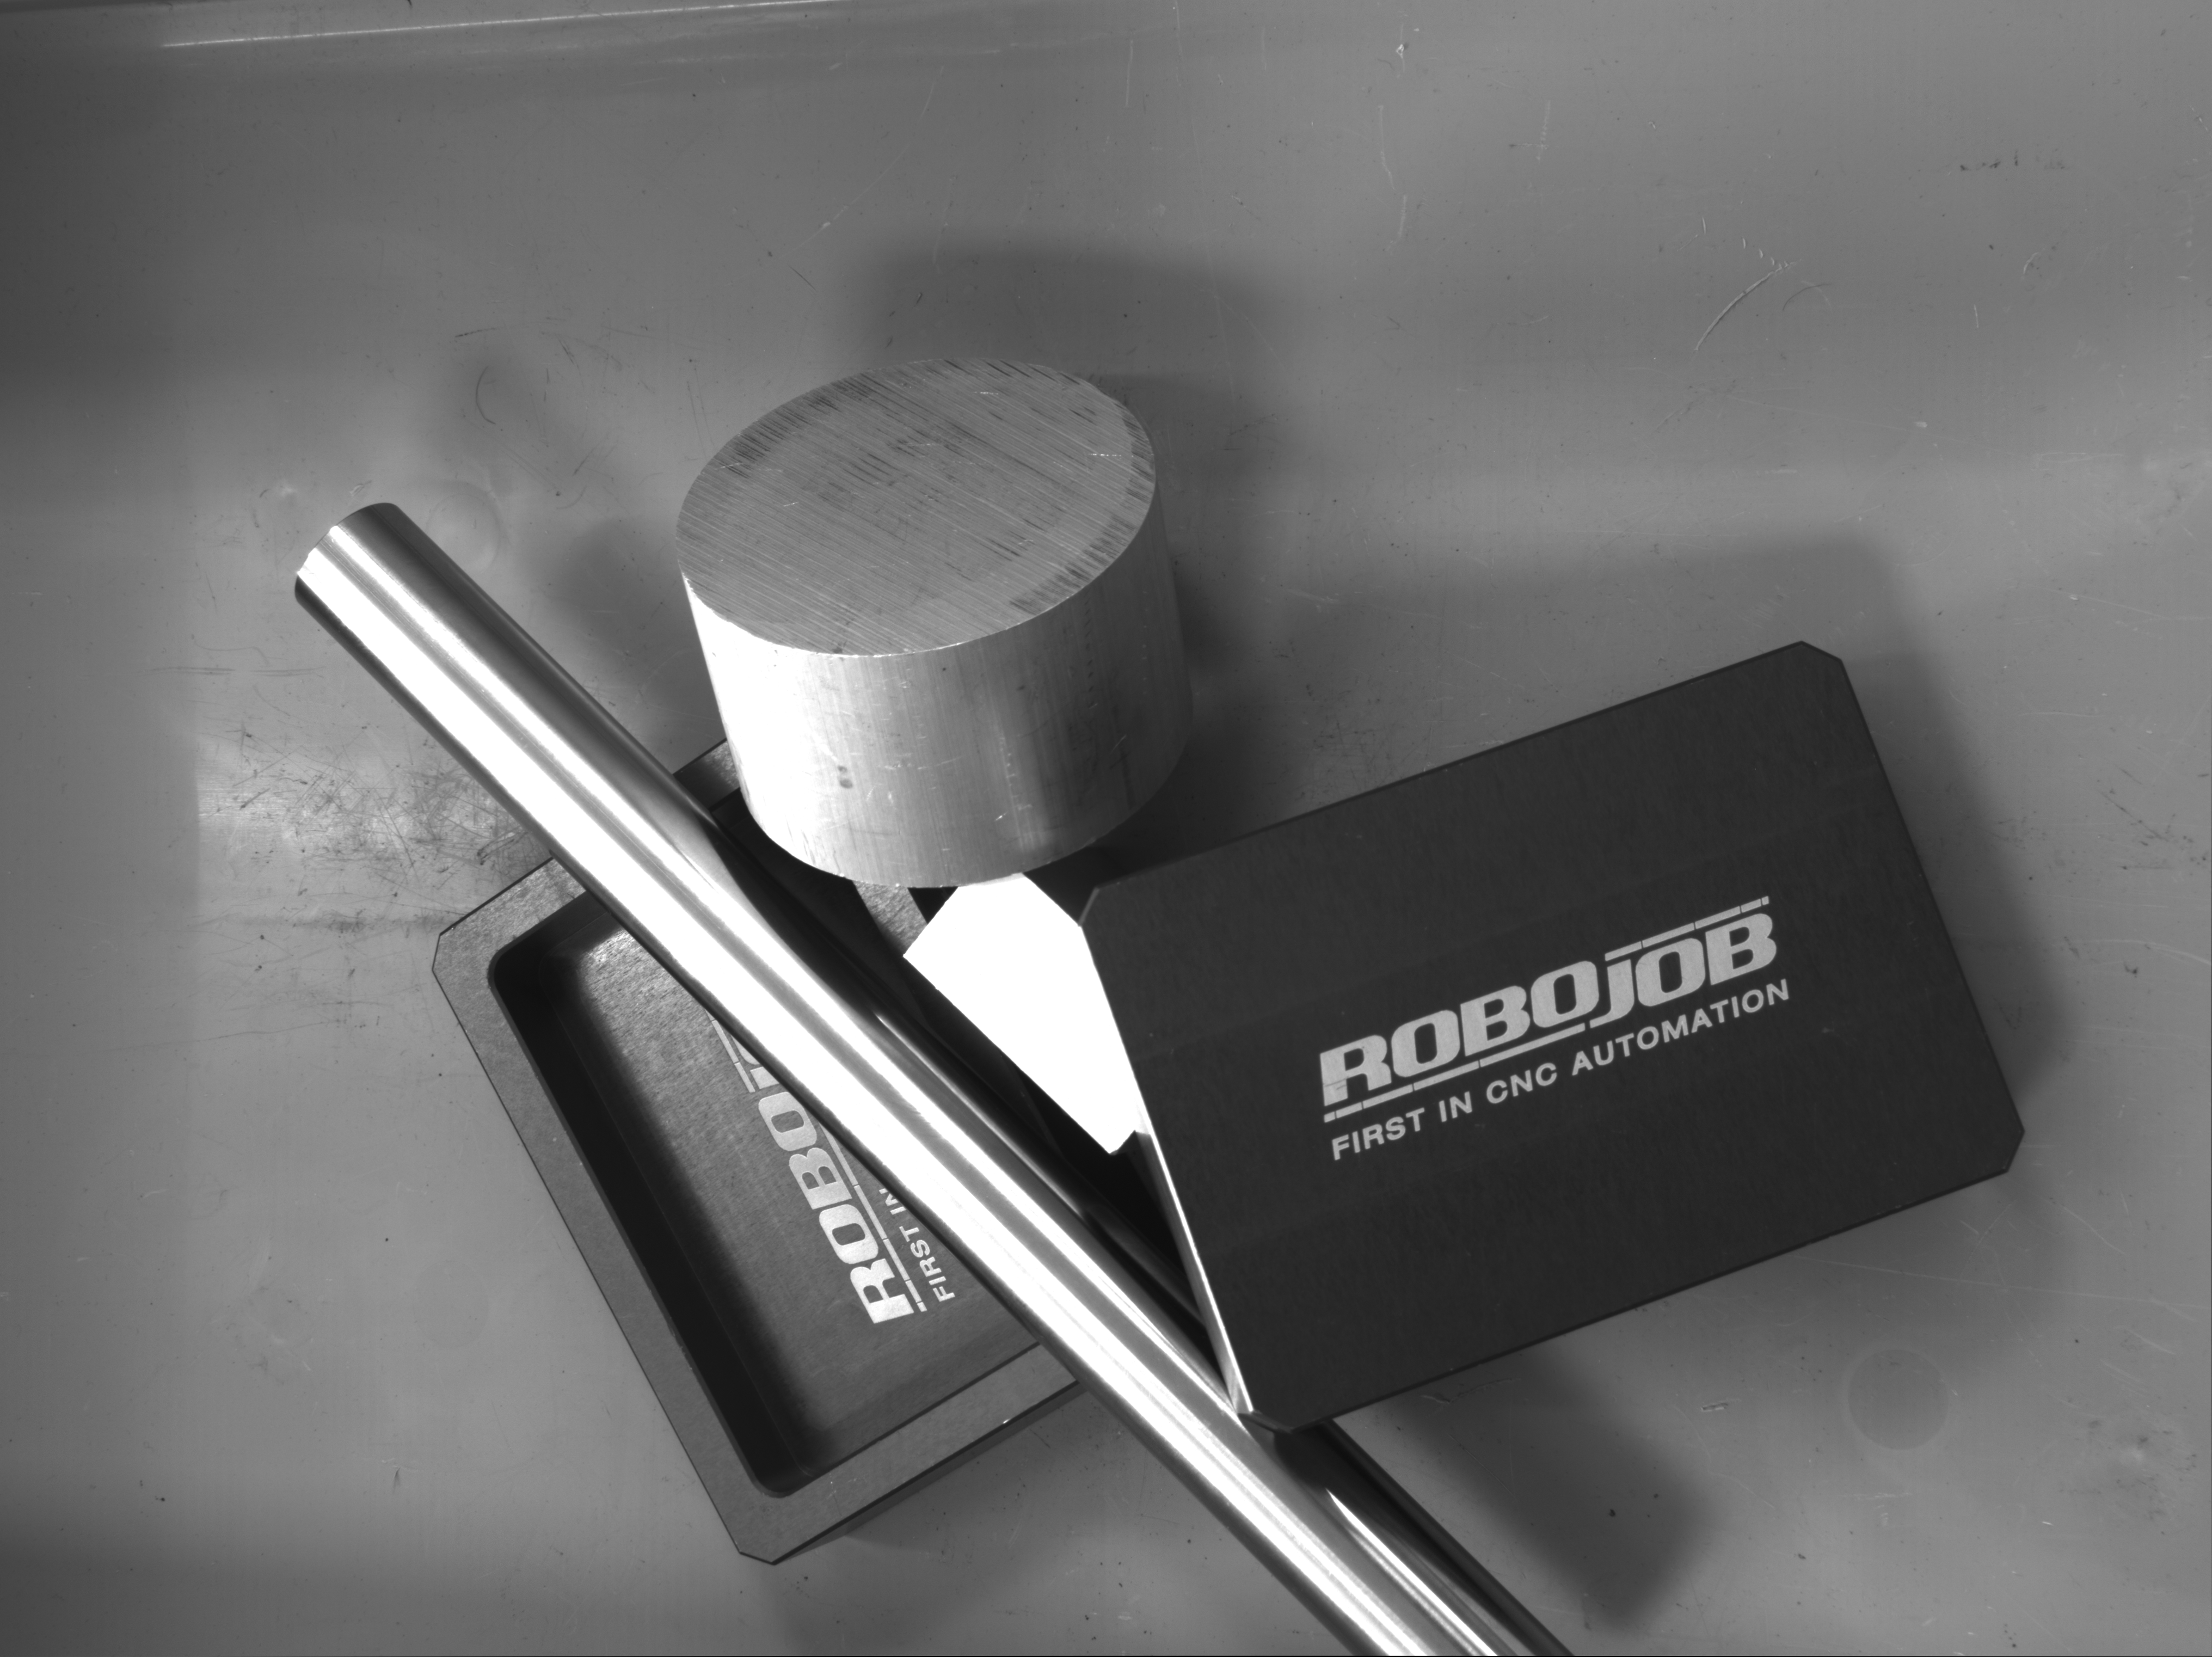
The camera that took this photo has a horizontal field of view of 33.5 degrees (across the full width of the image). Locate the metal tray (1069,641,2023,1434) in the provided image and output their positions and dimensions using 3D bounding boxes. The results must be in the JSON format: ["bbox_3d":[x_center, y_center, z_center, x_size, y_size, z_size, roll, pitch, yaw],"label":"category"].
[{"bbox_3d":[0.069,0.034,0.590,0.130,0.030,0.090,-19,83,-6],"label":"metal tray"}]

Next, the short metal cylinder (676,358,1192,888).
[{"bbox_3d":[-0.028,-0.036,0.620,0.080,0.080,0.050,9,135,20],"label":"short metal cylinder"}]

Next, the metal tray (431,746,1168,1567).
[{"bbox_3d":[-0.053,0.054,0.662,0.090,0.030,0.130,-33,79,17],"label":"metal tray"}]

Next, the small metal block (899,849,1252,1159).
[{"bbox_3d":[-0.001,0.029,0.632,0.050,0.050,0.025,43,103,15],"label":"small metal block"}]

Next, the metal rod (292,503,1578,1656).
[{"bbox_3d":[-0.031,0.050,0.625,0.300,0.025,0.025,43,104,15],"label":"metal rod"}]
